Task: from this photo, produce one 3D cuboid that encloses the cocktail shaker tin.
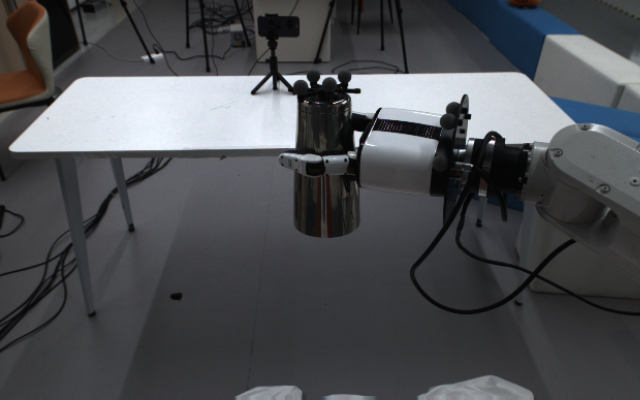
[{"bbox_3d":[0.009,-0.049,0.623,0.093,0.170,0.093,-1,26,1],"label":"cocktail shaker tin"}]
